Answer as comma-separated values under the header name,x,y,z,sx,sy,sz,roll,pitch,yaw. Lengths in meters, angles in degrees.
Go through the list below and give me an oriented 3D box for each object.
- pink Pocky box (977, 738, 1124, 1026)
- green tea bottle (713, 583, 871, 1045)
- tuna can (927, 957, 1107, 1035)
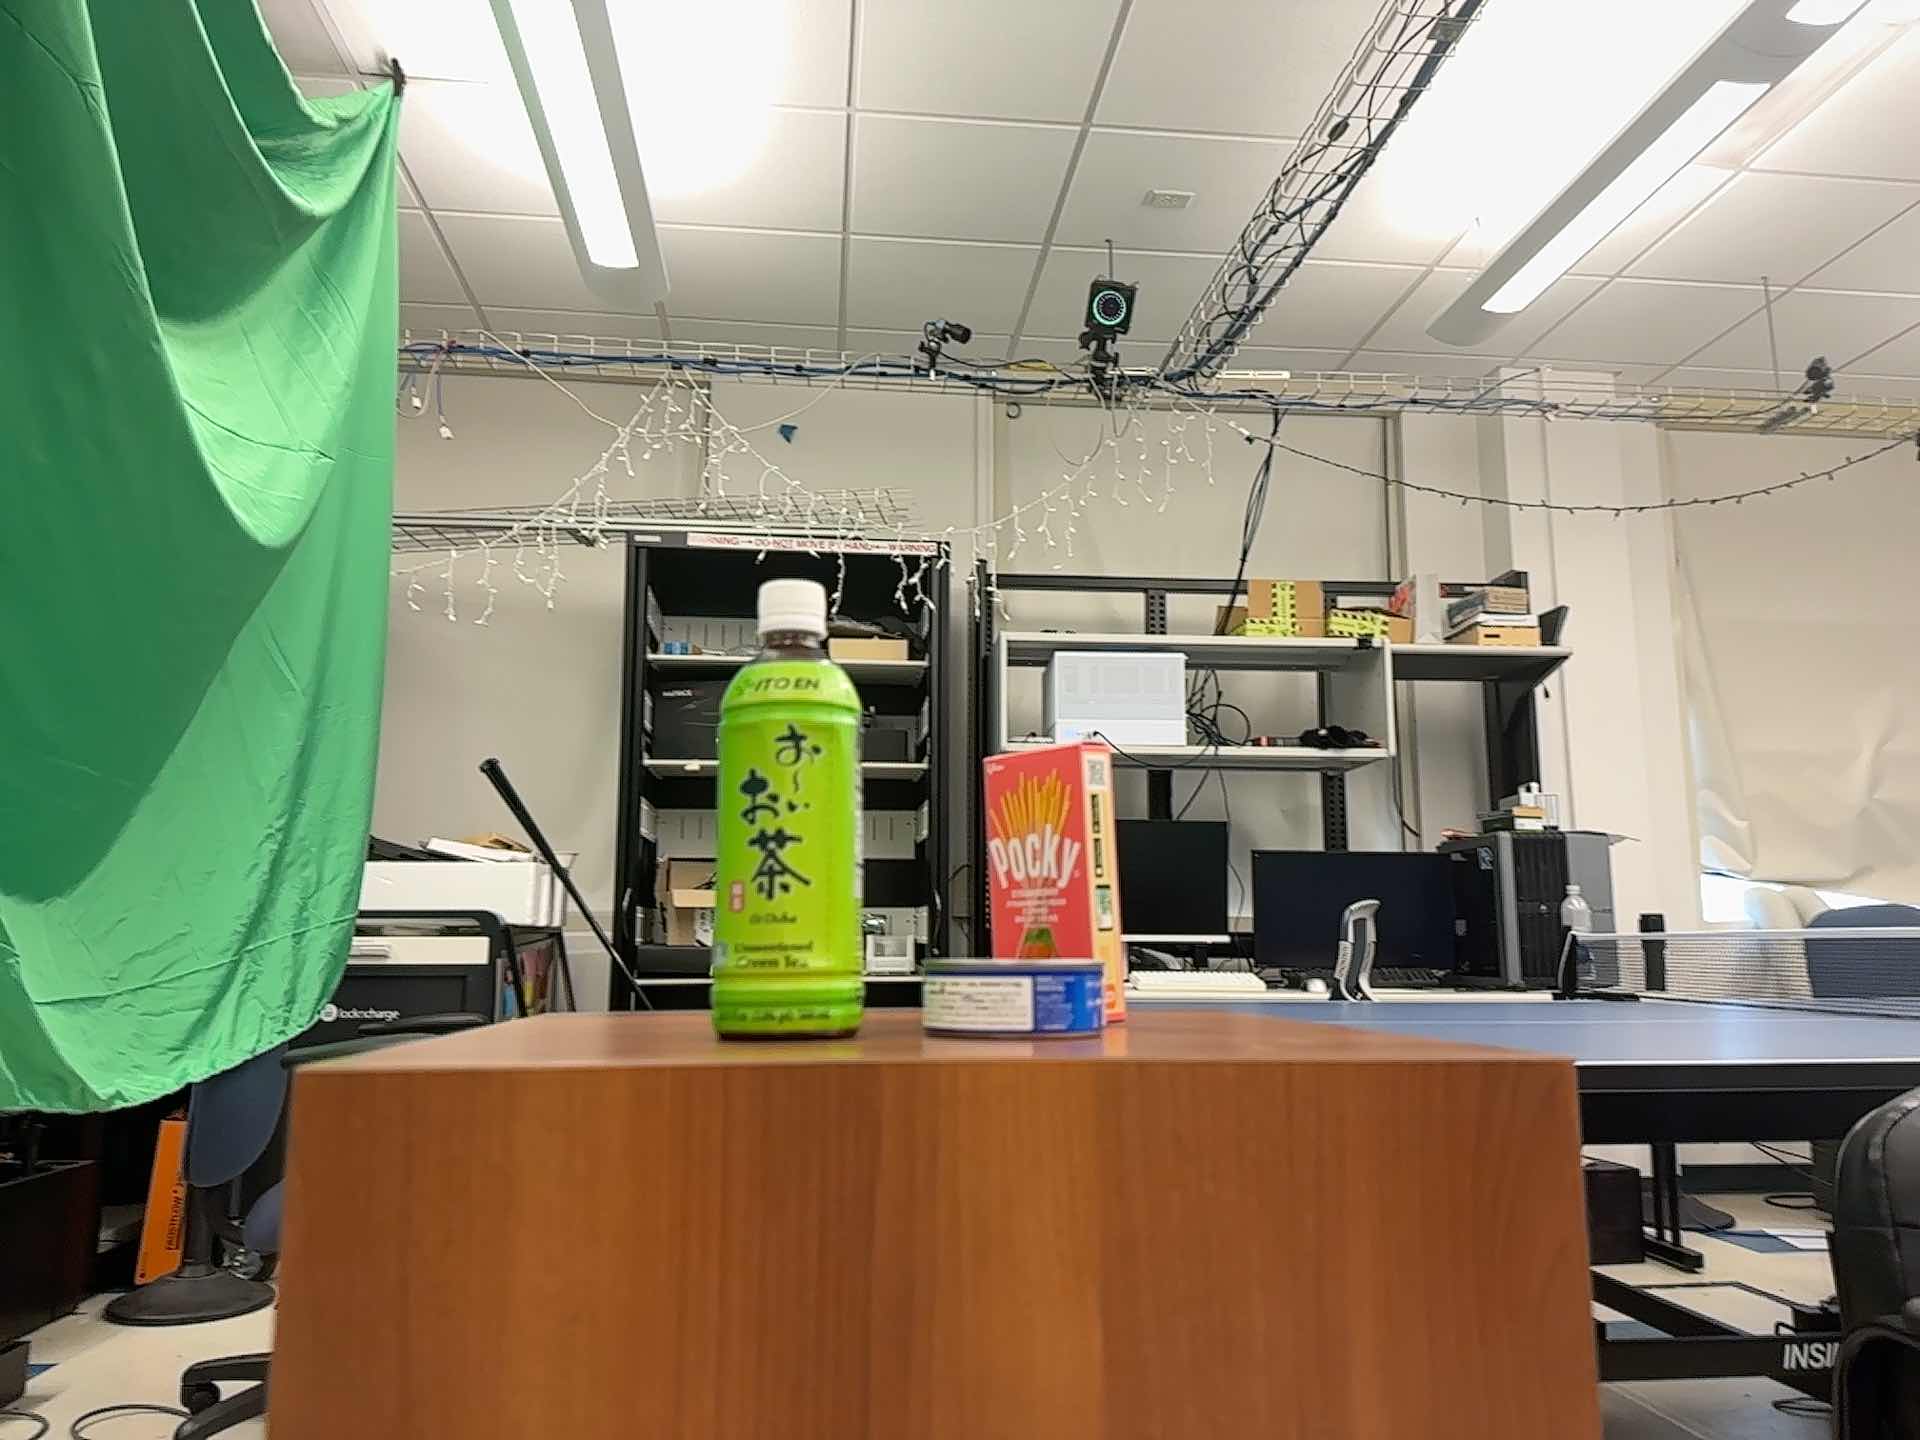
name,x,y,z,sx,sy,sz,roll,pitch,yaw
pink Pocky box,0.049,0.091,0.755,0.029,0.155,0.084,4,-10,-41
green tea bottle,-0.078,0.042,0.626,0.073,0.212,0.073,-2,-11,0
tuna can,0.027,0.129,0.631,0.083,0.034,0.083,-1,-11,0
